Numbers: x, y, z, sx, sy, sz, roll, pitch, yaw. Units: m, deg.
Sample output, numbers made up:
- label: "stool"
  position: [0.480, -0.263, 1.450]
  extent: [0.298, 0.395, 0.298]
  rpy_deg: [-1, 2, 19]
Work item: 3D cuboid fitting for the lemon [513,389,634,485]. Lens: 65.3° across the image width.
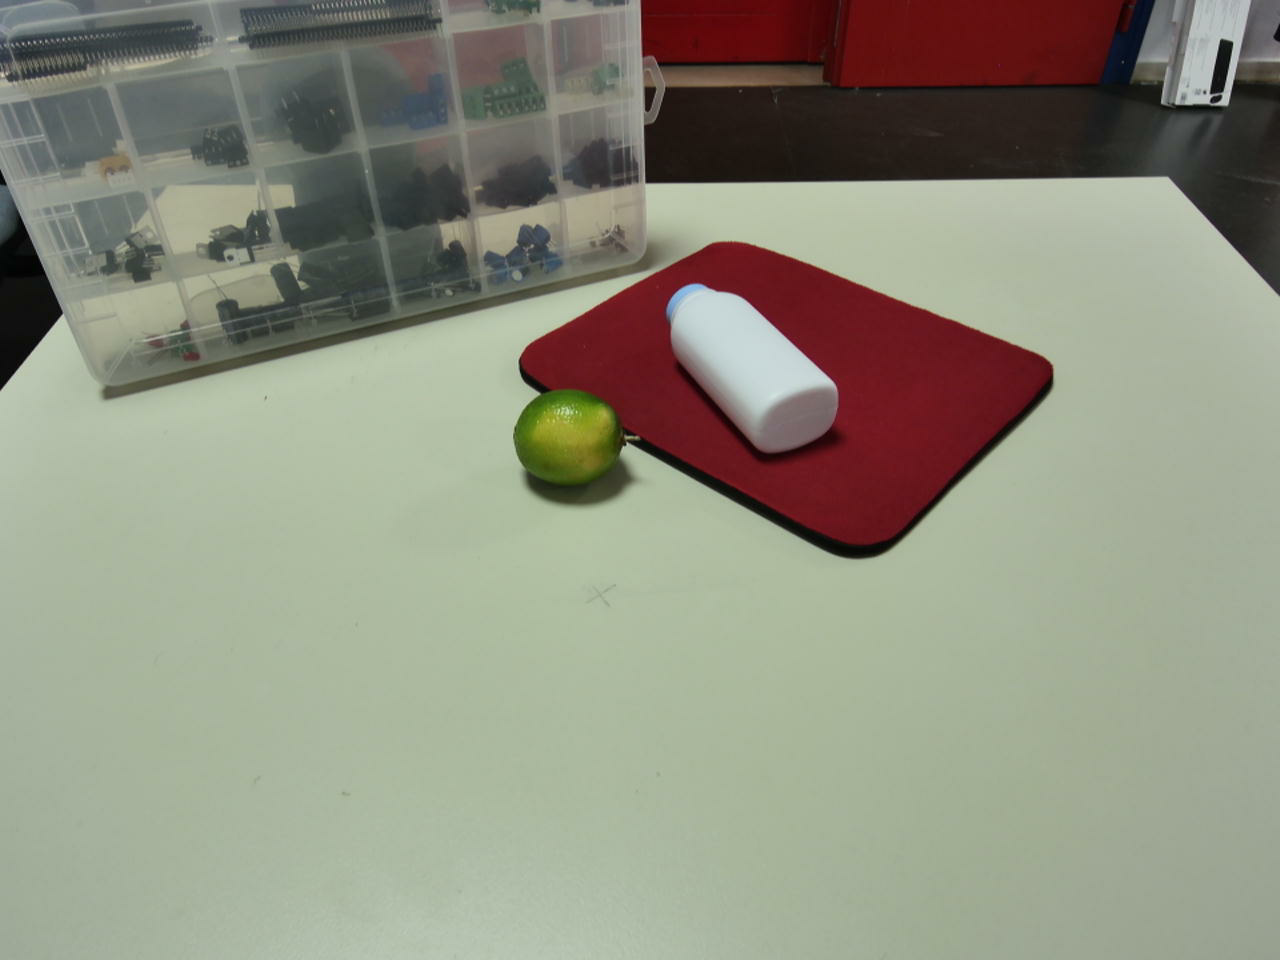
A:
- label: "lemon"
  position: [-0.038, -0.023, 0.530]
  extent: [0.054, 0.050, 0.055]
  rpy_deg: [-28, 47, -30]
